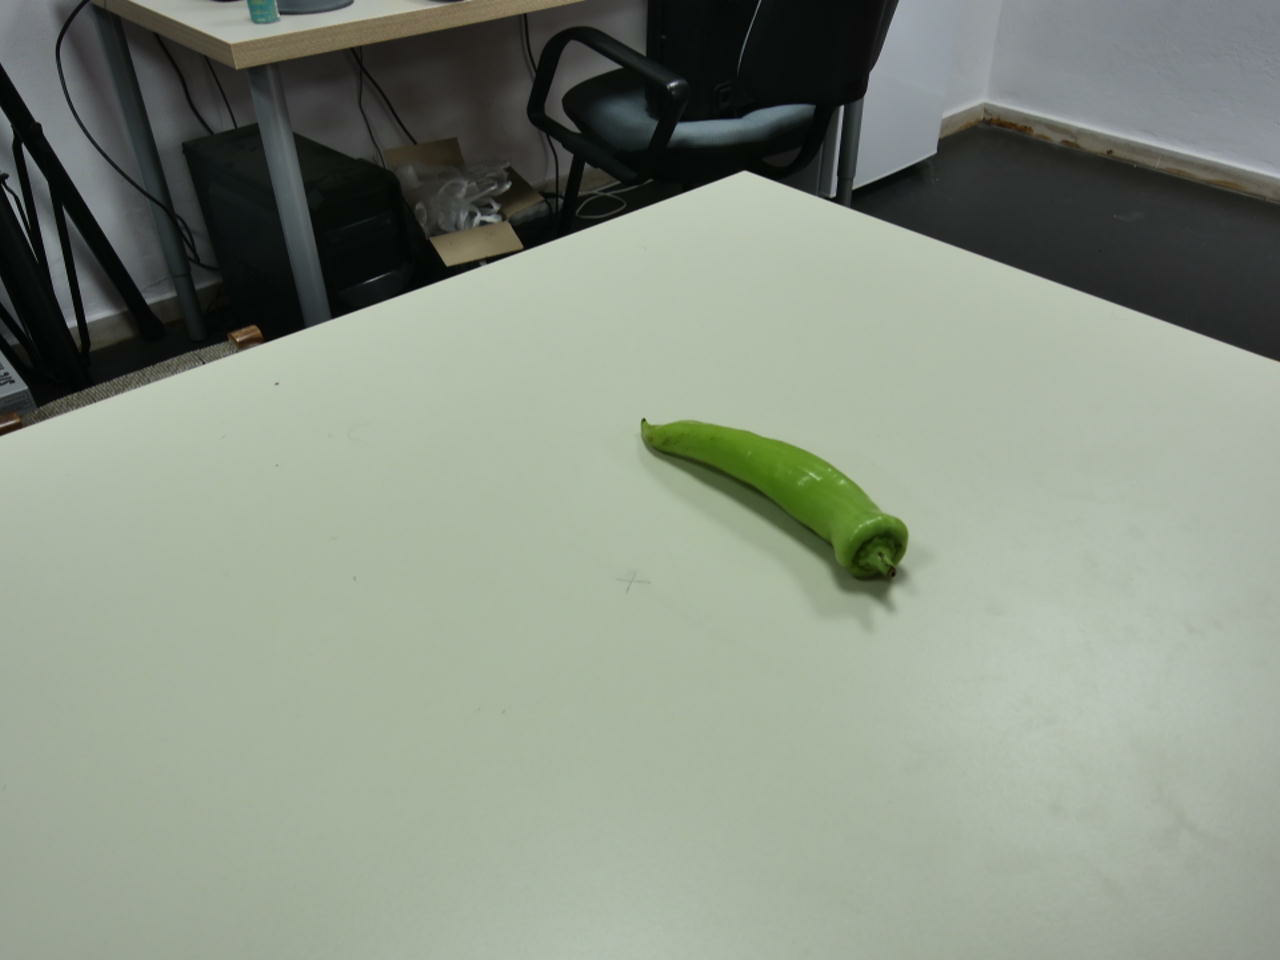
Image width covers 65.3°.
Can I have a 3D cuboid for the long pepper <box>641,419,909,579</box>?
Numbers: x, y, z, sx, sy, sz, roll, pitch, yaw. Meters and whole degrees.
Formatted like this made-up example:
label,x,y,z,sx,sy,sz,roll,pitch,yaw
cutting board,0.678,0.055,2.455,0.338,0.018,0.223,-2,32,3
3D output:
label,x,y,z,sx,sy,sz,roll,pitch,yaw
long pepper,0.070,-0.004,0.538,0.046,0.038,0.197,-25,42,-29
